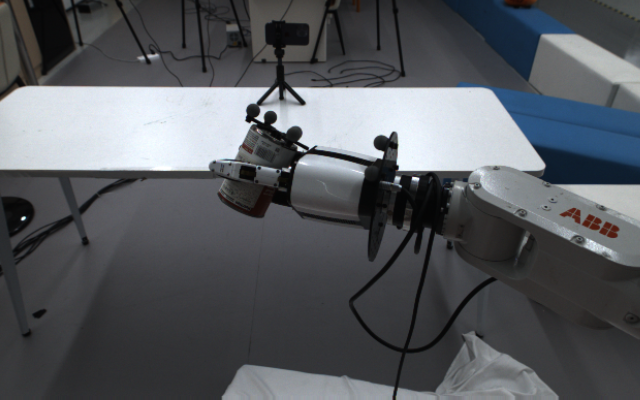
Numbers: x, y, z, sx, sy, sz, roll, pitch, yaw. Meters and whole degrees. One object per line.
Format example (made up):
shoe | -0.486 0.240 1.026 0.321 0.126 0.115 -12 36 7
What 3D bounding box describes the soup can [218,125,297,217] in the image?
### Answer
soup can | -0.079 -0.036 0.622 0.067 0.101 0.067 27 9 -5
